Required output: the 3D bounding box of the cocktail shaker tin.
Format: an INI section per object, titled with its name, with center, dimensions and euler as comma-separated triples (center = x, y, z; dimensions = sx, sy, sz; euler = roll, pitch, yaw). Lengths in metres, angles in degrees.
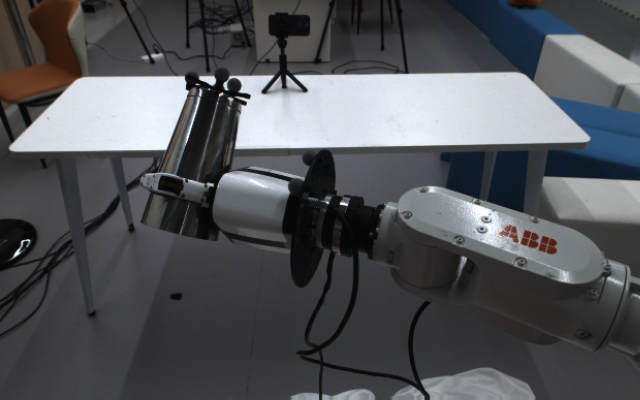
[cocktail shaker tin]
center = -0.148, -0.043, 0.587
dimensions = 0.093, 0.170, 0.093
euler = 14, -4, 1
